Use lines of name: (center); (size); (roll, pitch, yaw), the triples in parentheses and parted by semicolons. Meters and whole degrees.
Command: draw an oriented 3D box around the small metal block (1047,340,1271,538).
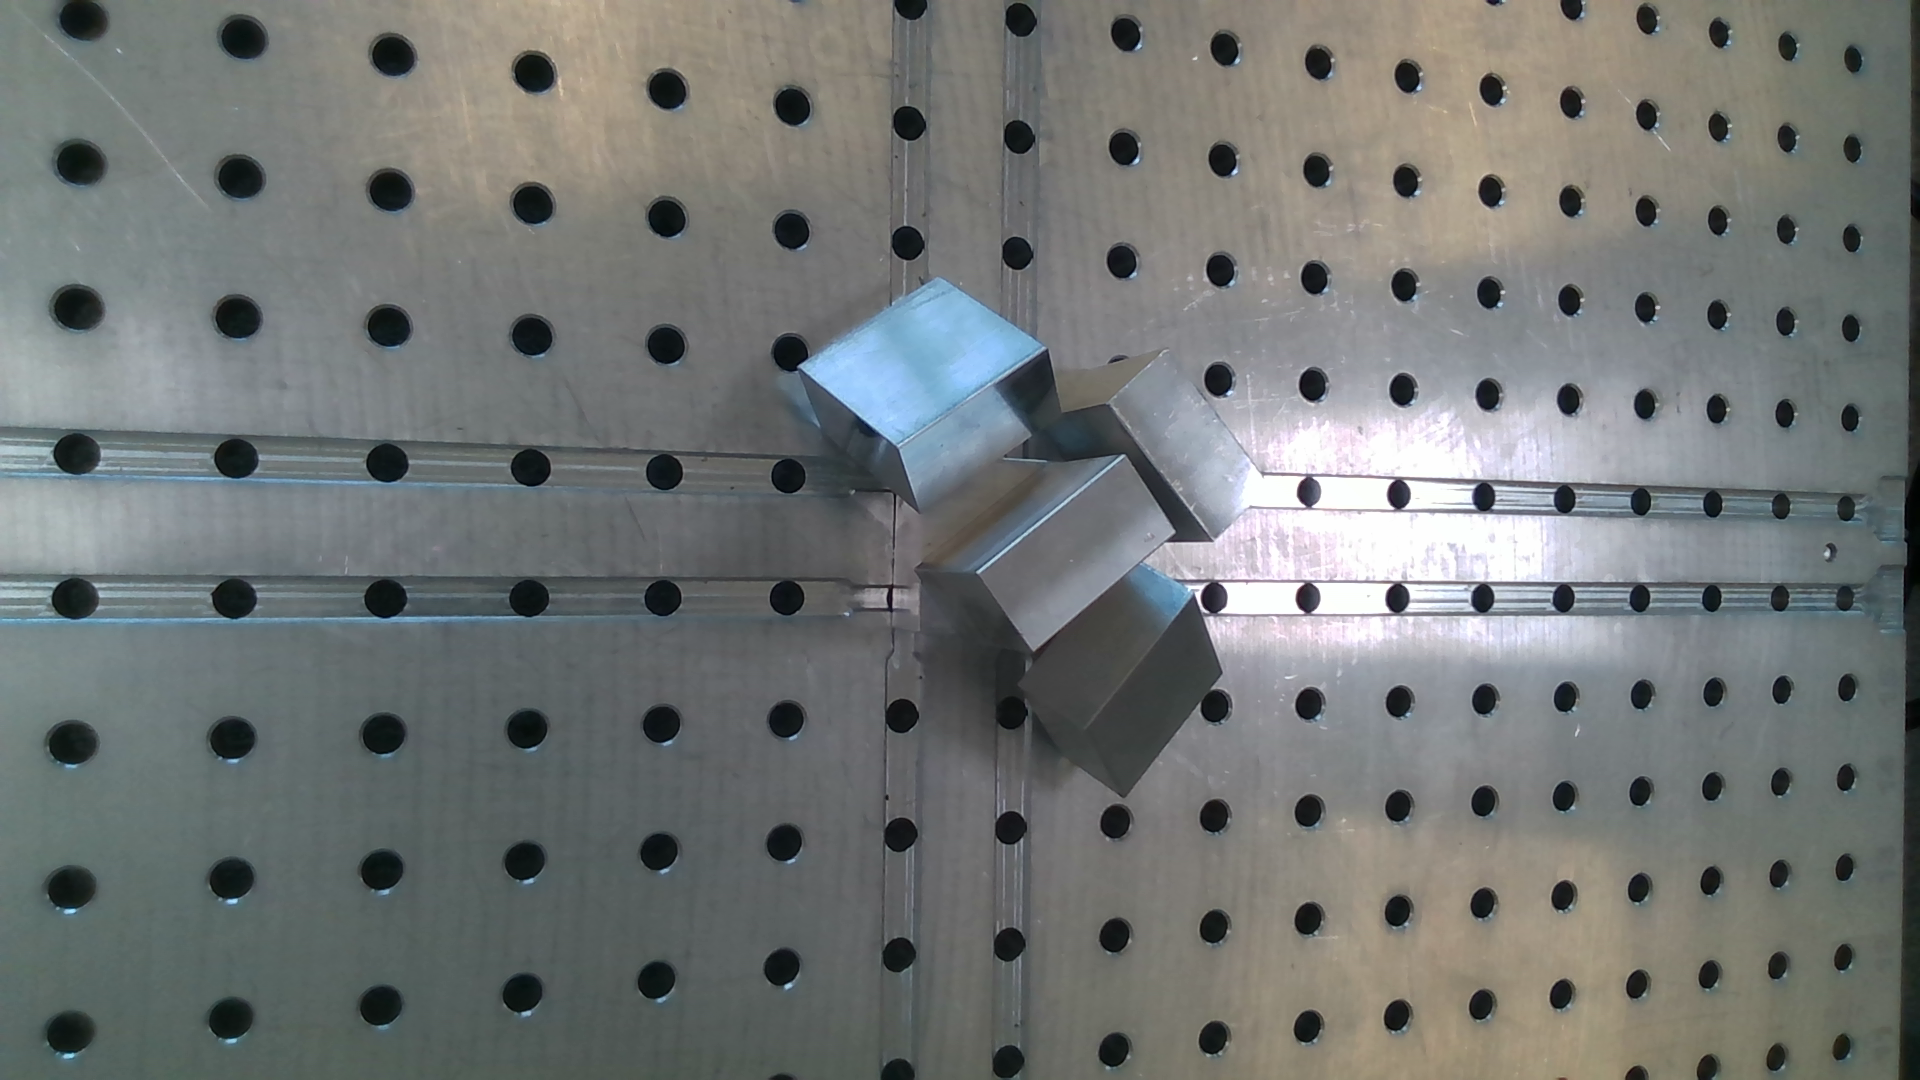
small metal block: (0.055, -0.028, 0.403); (0.025, 0.050, 0.050); (-43, 104, -15)

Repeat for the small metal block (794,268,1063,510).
small metal block: (-0.009, -0.042, 0.377); (0.050, 0.050, 0.025); (-35, 139, -17)

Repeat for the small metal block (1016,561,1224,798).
small metal block: (0.048, 0.039, 0.400); (0.050, 0.025, 0.050); (-49, 145, -14)

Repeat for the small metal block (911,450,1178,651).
small metal block: (0.021, 0.002, 0.364); (0.050, 0.050, 0.025); (-38, 103, -16)

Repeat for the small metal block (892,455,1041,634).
small metal block: (0.008, 0.001, 0.399); (0.050, 0.025, 0.050); (0, 91, -21)
